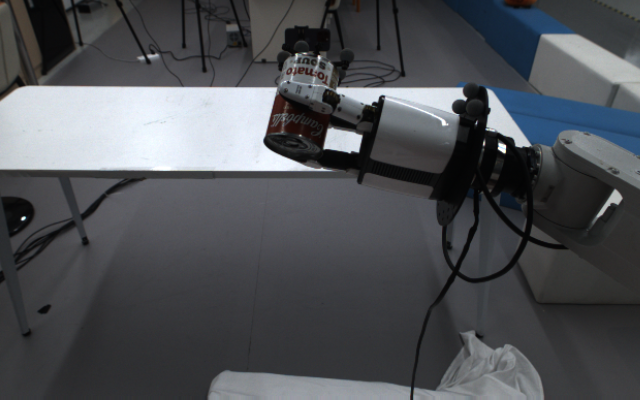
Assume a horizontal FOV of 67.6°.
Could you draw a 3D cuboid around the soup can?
[{"bbox_3d":[-0.019,-0.106,0.549,0.067,0.067,0.101,9,74,9],"label":"soup can"}]
